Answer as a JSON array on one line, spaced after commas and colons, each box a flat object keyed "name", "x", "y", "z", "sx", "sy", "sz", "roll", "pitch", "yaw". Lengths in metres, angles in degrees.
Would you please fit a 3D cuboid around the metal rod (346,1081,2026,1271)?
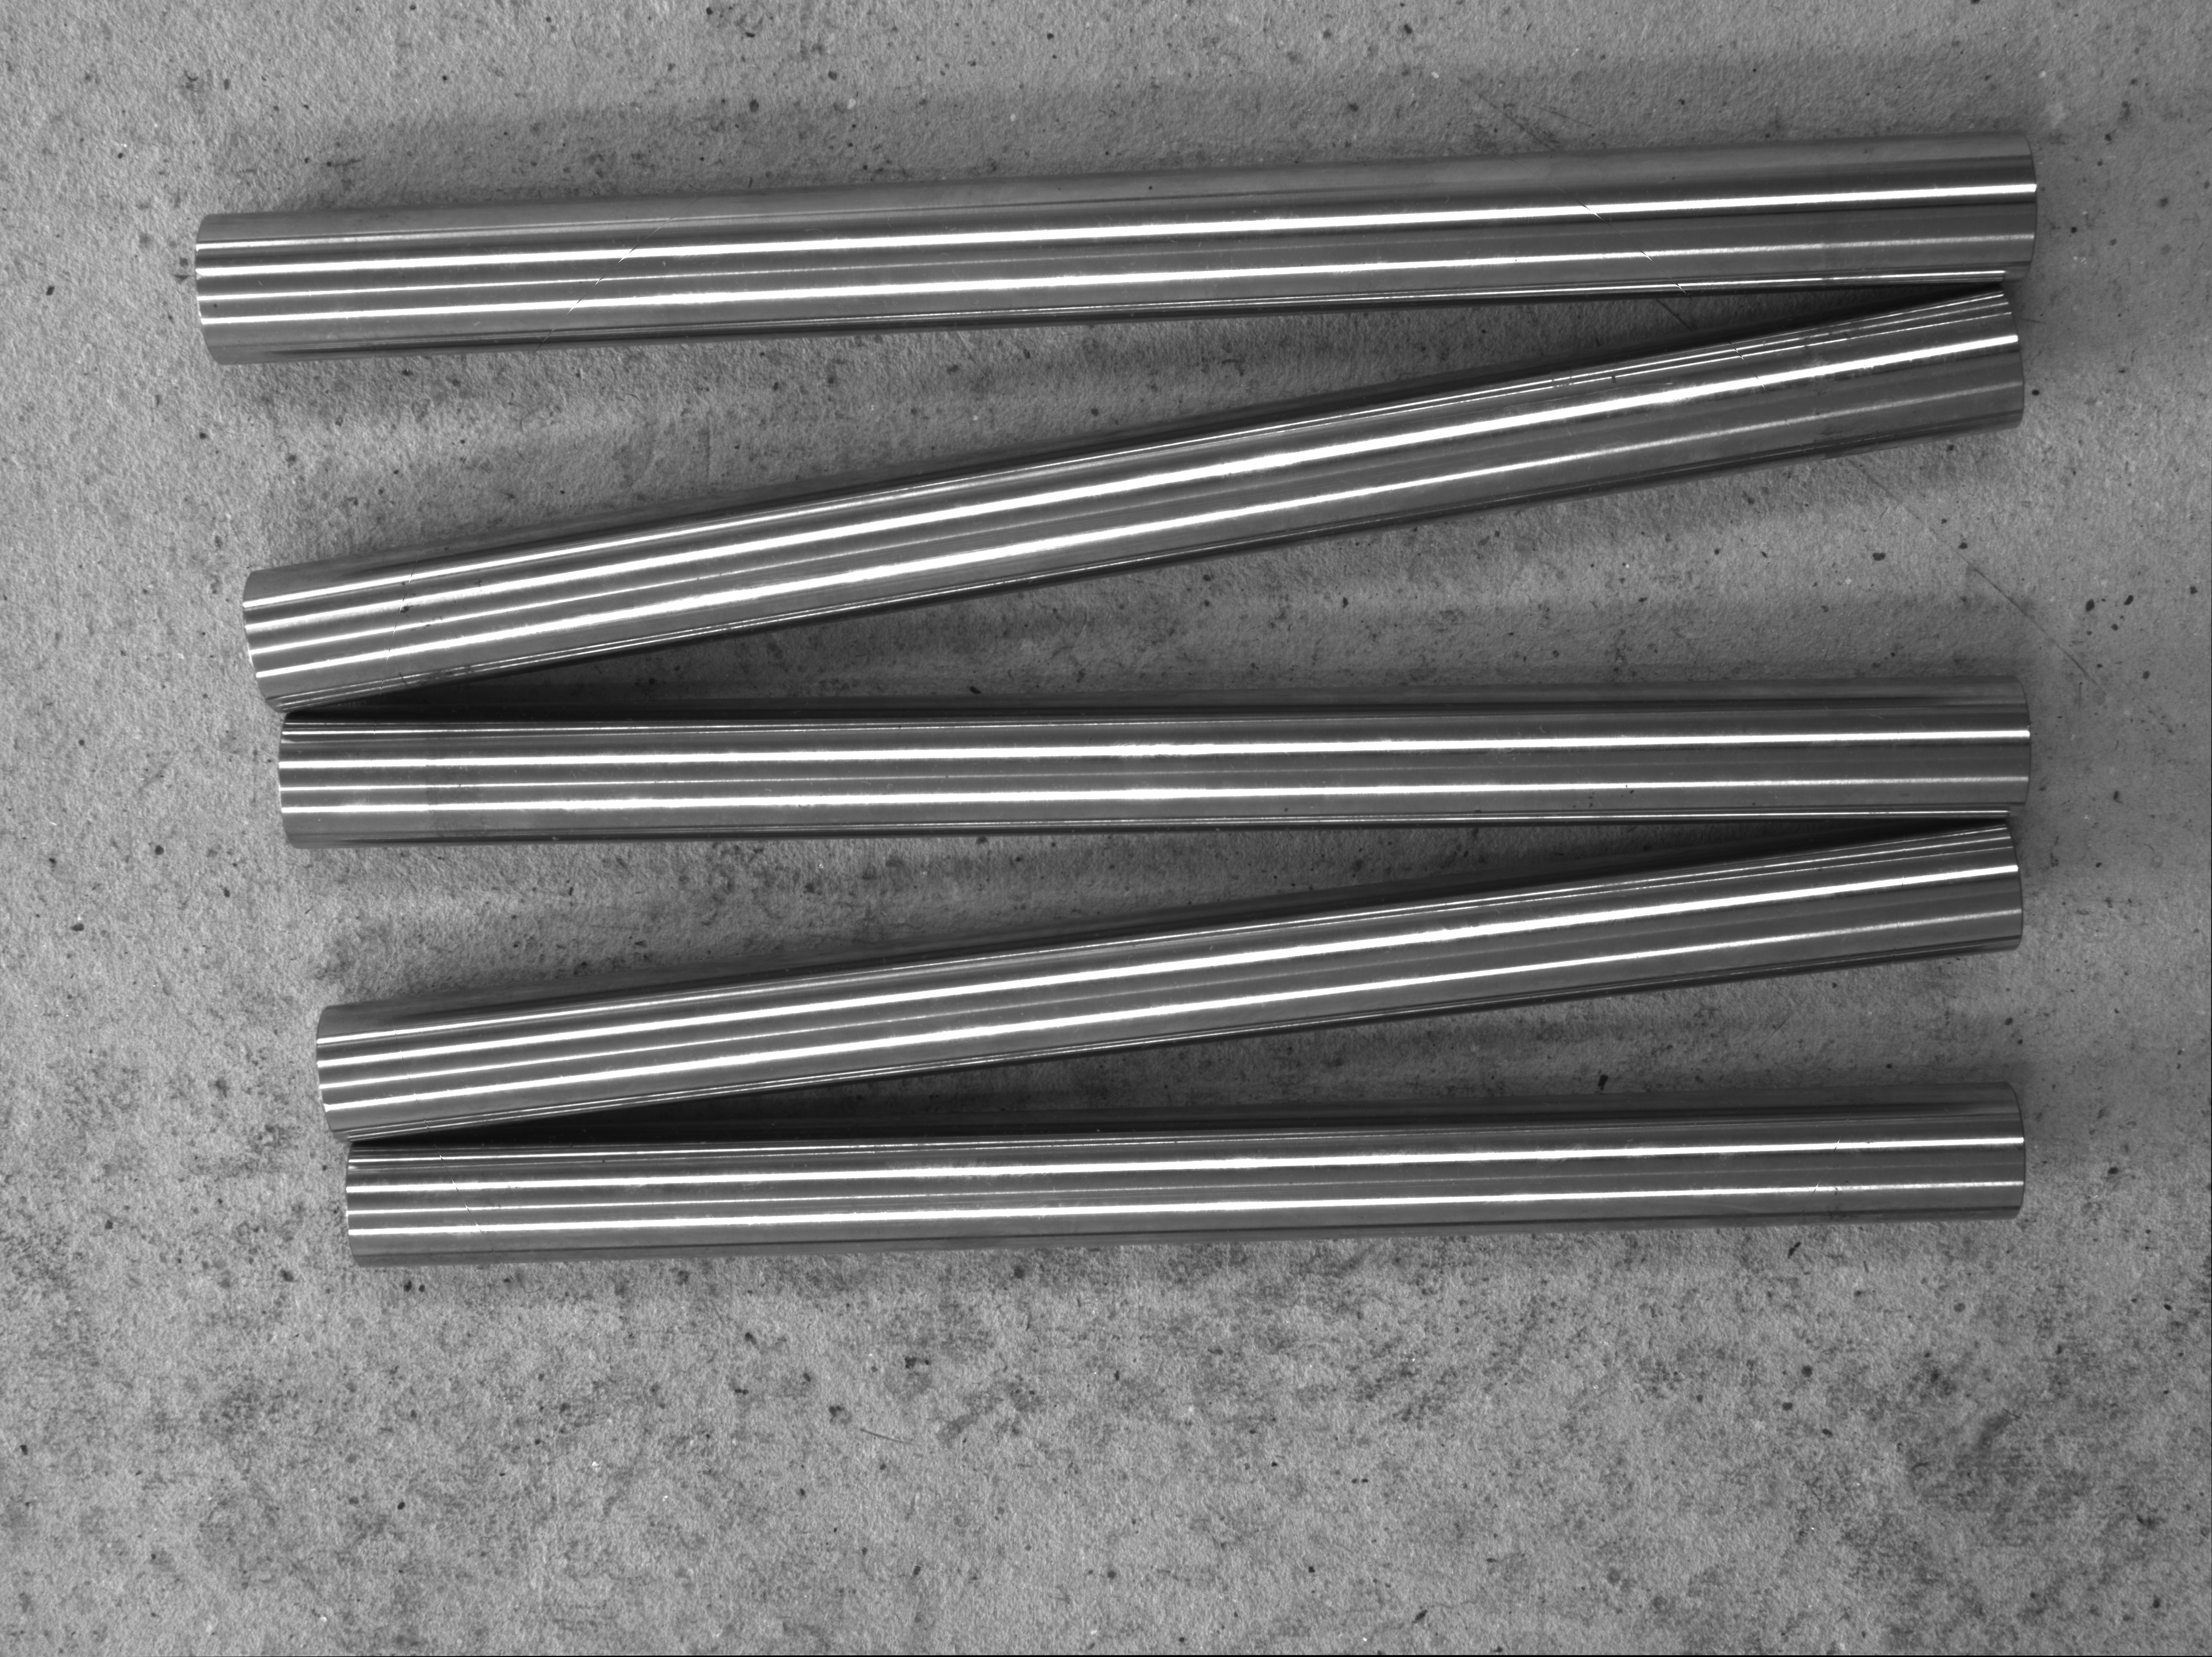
[{"name": "metal rod", "x": 0.014, "y": 0.063, "z": 0.667, "sx": 0.300, "sy": 0.025, "sz": 0.025, "roll": -2, "pitch": 110, "yaw": 0}]

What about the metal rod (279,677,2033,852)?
[{"name": "metal rod", "x": 0.009, "y": -0.011, "z": 0.639, "sx": 0.300, "sy": 0.025, "sz": 0.025, "roll": -1, "pitch": 110, "yaw": 0}]

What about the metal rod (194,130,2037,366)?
[{"name": "metal rod", "x": 0.001, "y": -0.096, "z": 0.609, "sx": 0.300, "sy": 0.025, "sz": 0.025, "roll": -3, "pitch": 110, "yaw": 1}]

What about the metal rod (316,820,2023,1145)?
[{"name": "metal rod", "x": 0.010, "y": 0.027, "z": 0.654, "sx": 0.300, "sy": 0.025, "sz": 0.025, "roll": -7, "pitch": 110, "yaw": 2}]

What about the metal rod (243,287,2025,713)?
[{"name": "metal rod", "x": 0.003, "y": -0.056, "z": 0.623, "sx": 0.300, "sy": 0.025, "sz": 0.025, "roll": -9, "pitch": 110, "yaw": 3}]
